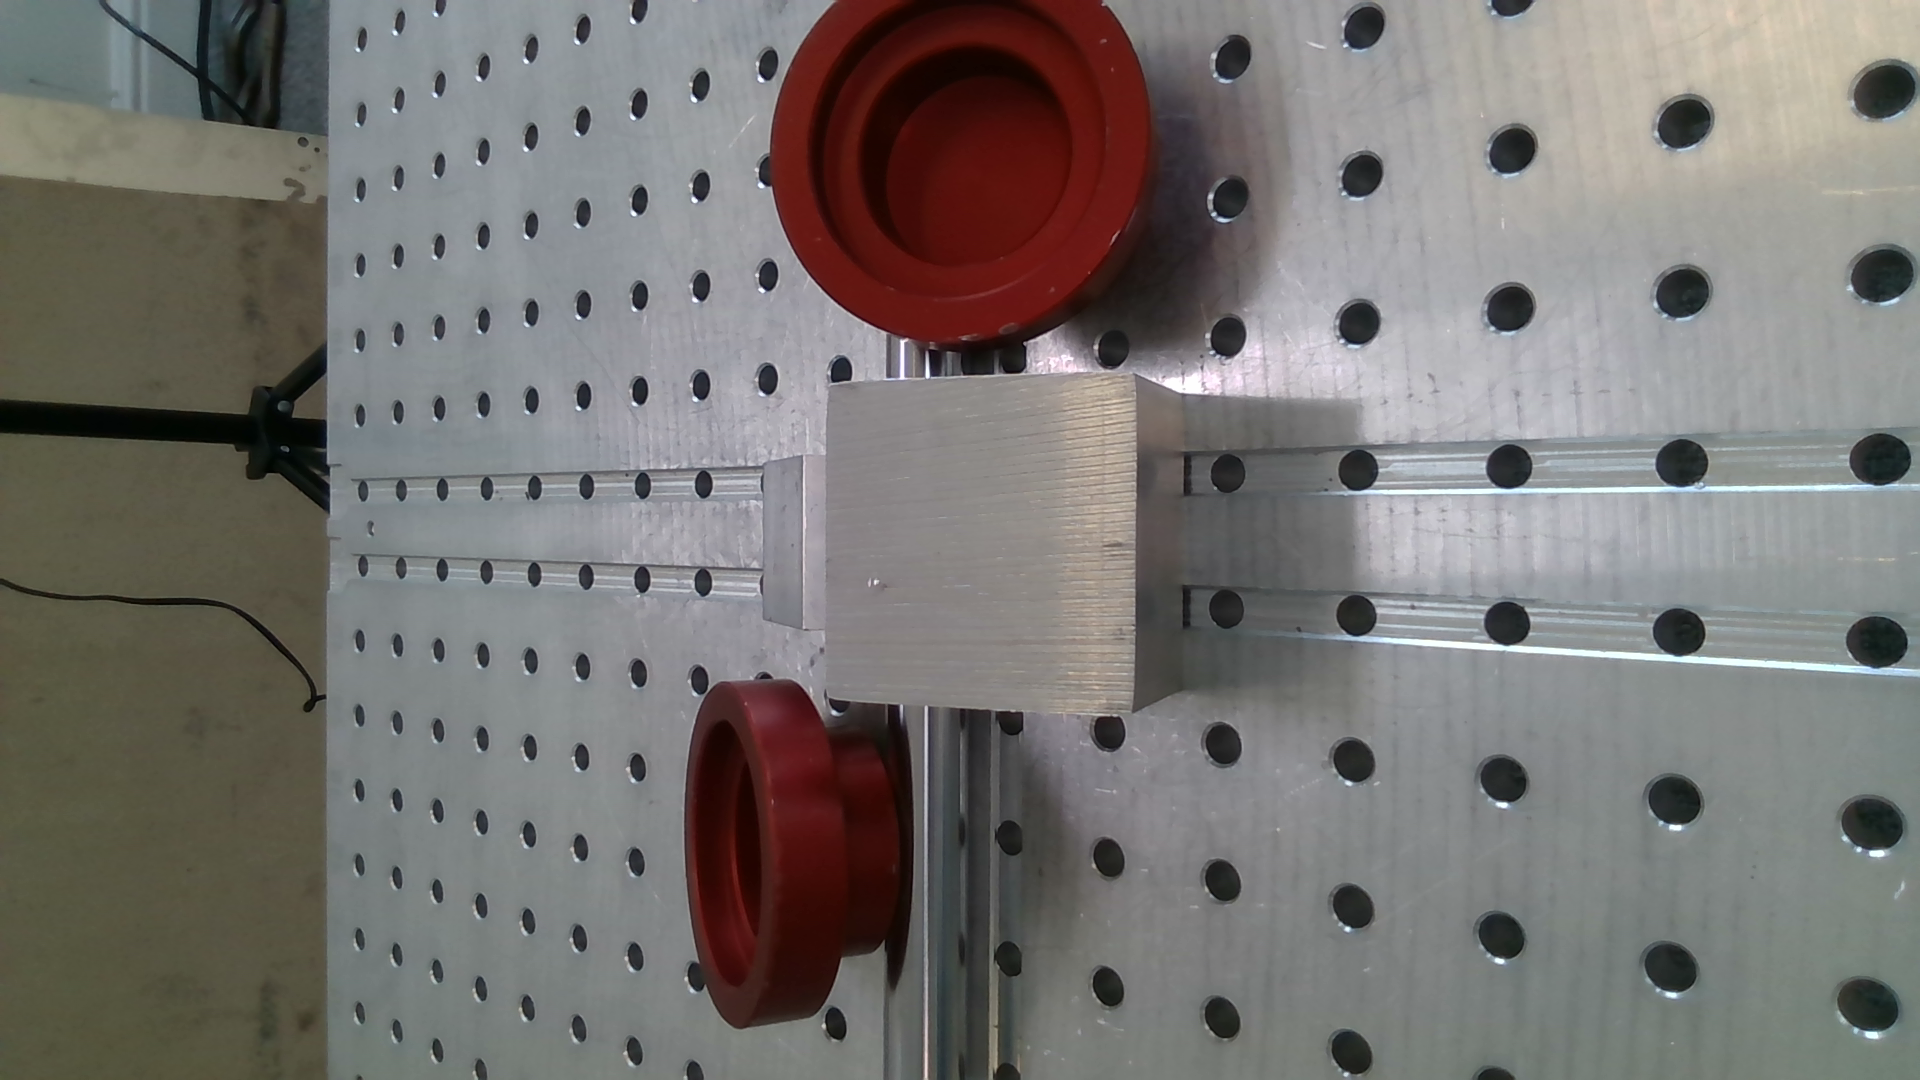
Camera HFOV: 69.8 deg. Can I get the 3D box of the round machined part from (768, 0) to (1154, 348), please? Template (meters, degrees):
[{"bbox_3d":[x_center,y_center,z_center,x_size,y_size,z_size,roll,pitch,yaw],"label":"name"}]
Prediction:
[{"bbox_3d":[0.003,-0.099,0.363,0.098,0.042,0.098,0,91,14],"label":"round machined part"}]

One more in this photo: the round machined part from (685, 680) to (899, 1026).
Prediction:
[{"bbox_3d":[-0.050,0.091,0.410,0.098,0.042,0.098,179,90,-65],"label":"round machined part"}]

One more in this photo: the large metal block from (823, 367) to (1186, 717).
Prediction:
[{"bbox_3d":[0.012,0.000,0.352,0.080,0.050,0.080,1,91,22],"label":"large metal block"}]

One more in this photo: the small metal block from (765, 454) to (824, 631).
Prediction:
[{"bbox_3d":[-0.042,0.000,0.416,0.050,0.025,0.050,-178,88,-69],"label":"small metal block"}]

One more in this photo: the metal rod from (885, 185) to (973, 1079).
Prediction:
[{"bbox_3d":[-0.009,0.010,0.403,0.025,0.025,0.300,1,91,40],"label":"metal rod"}]
